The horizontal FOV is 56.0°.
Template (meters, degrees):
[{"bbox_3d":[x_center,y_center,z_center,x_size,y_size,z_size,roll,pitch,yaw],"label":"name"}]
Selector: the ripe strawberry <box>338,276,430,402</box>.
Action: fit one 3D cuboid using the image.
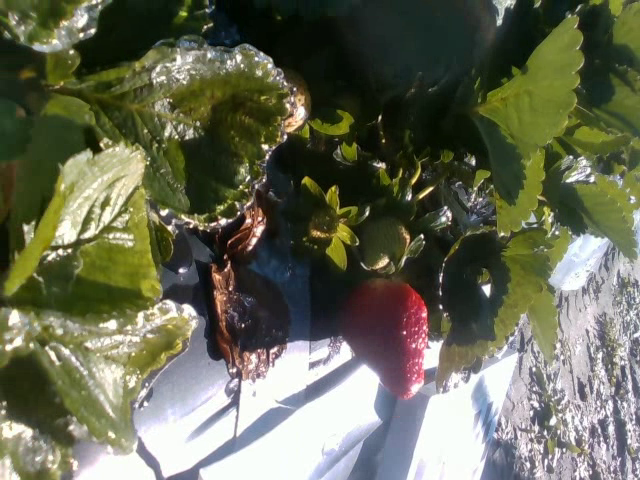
[{"bbox_3d":[0.041,0.059,0.325,0.057,0.065,0.062,-19,-37,2],"label":"ripe strawberry"}]
